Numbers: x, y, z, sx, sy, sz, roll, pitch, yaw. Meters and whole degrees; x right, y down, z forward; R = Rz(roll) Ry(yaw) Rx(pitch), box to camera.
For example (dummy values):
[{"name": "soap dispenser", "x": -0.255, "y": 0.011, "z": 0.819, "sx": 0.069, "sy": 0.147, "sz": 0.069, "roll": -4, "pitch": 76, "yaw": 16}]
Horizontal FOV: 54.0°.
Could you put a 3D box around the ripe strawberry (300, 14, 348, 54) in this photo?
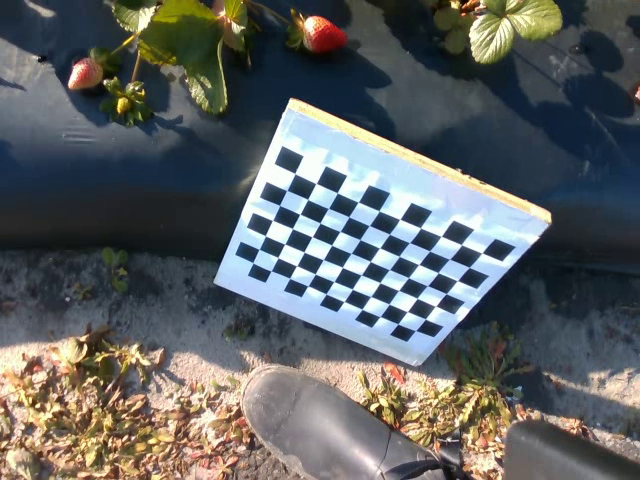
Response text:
[{"name": "ripe strawberry", "x": 0.004, "y": -0.227, "z": 0.685, "sx": 0.063, "sy": 0.045, "sz": 0.044, "roll": 8, "pitch": 40, "yaw": 2}]
